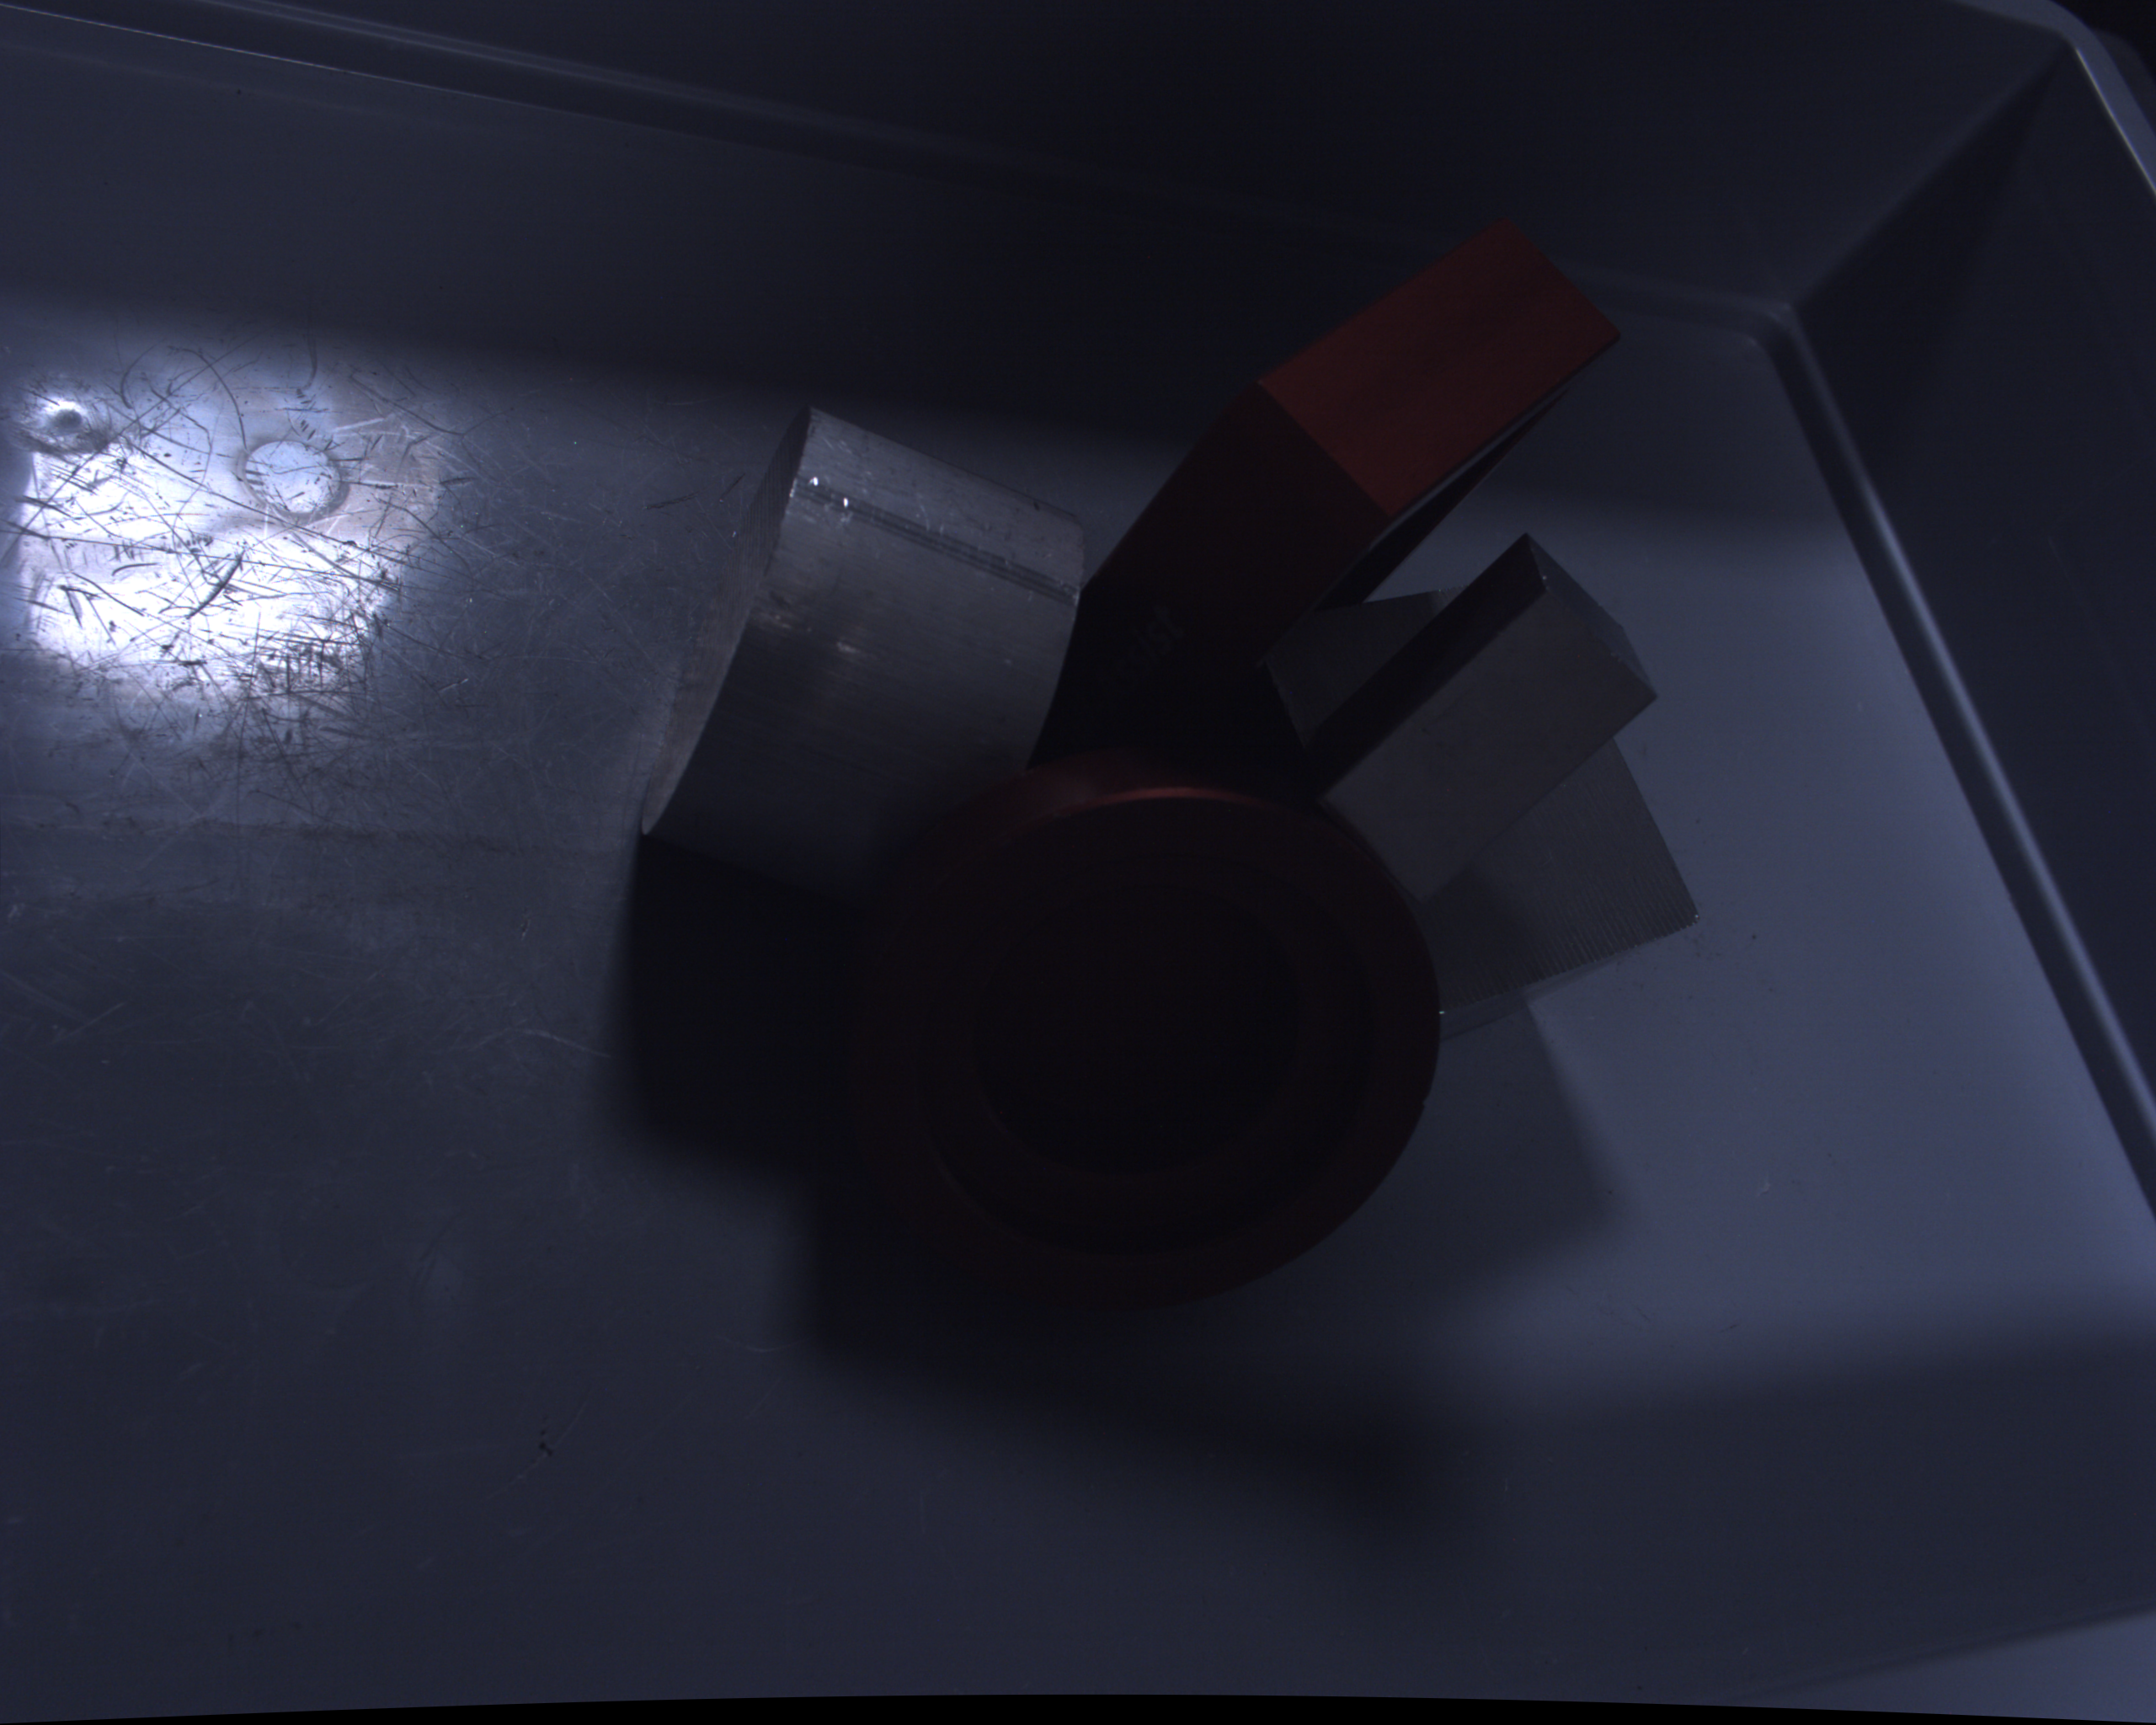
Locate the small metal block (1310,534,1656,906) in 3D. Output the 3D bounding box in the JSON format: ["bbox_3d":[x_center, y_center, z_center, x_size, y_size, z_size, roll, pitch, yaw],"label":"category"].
[{"bbox_3d":[0.067,-0.026,0.354,0.025,0.050,0.050,44,19,-7],"label":"small metal block"}]

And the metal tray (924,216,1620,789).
[{"bbox_3d":[0.032,-0.053,0.387,0.030,0.129,0.091,47,51,3],"label":"metal tray"}]

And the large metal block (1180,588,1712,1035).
[{"bbox_3d":[0.066,-0.006,0.419,0.081,0.050,0.080,-15,74,-34],"label":"large metal block"}]

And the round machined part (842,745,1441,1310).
[{"bbox_3d":[0.009,0.025,0.360,0.099,0.097,0.042,19,19,-18],"label":"round machined part"}]

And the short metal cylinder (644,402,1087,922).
[{"bbox_3d":[-0.039,-0.034,0.369,0.050,0.080,0.080,21,54,-17],"label":"short metal cylinder"}]
